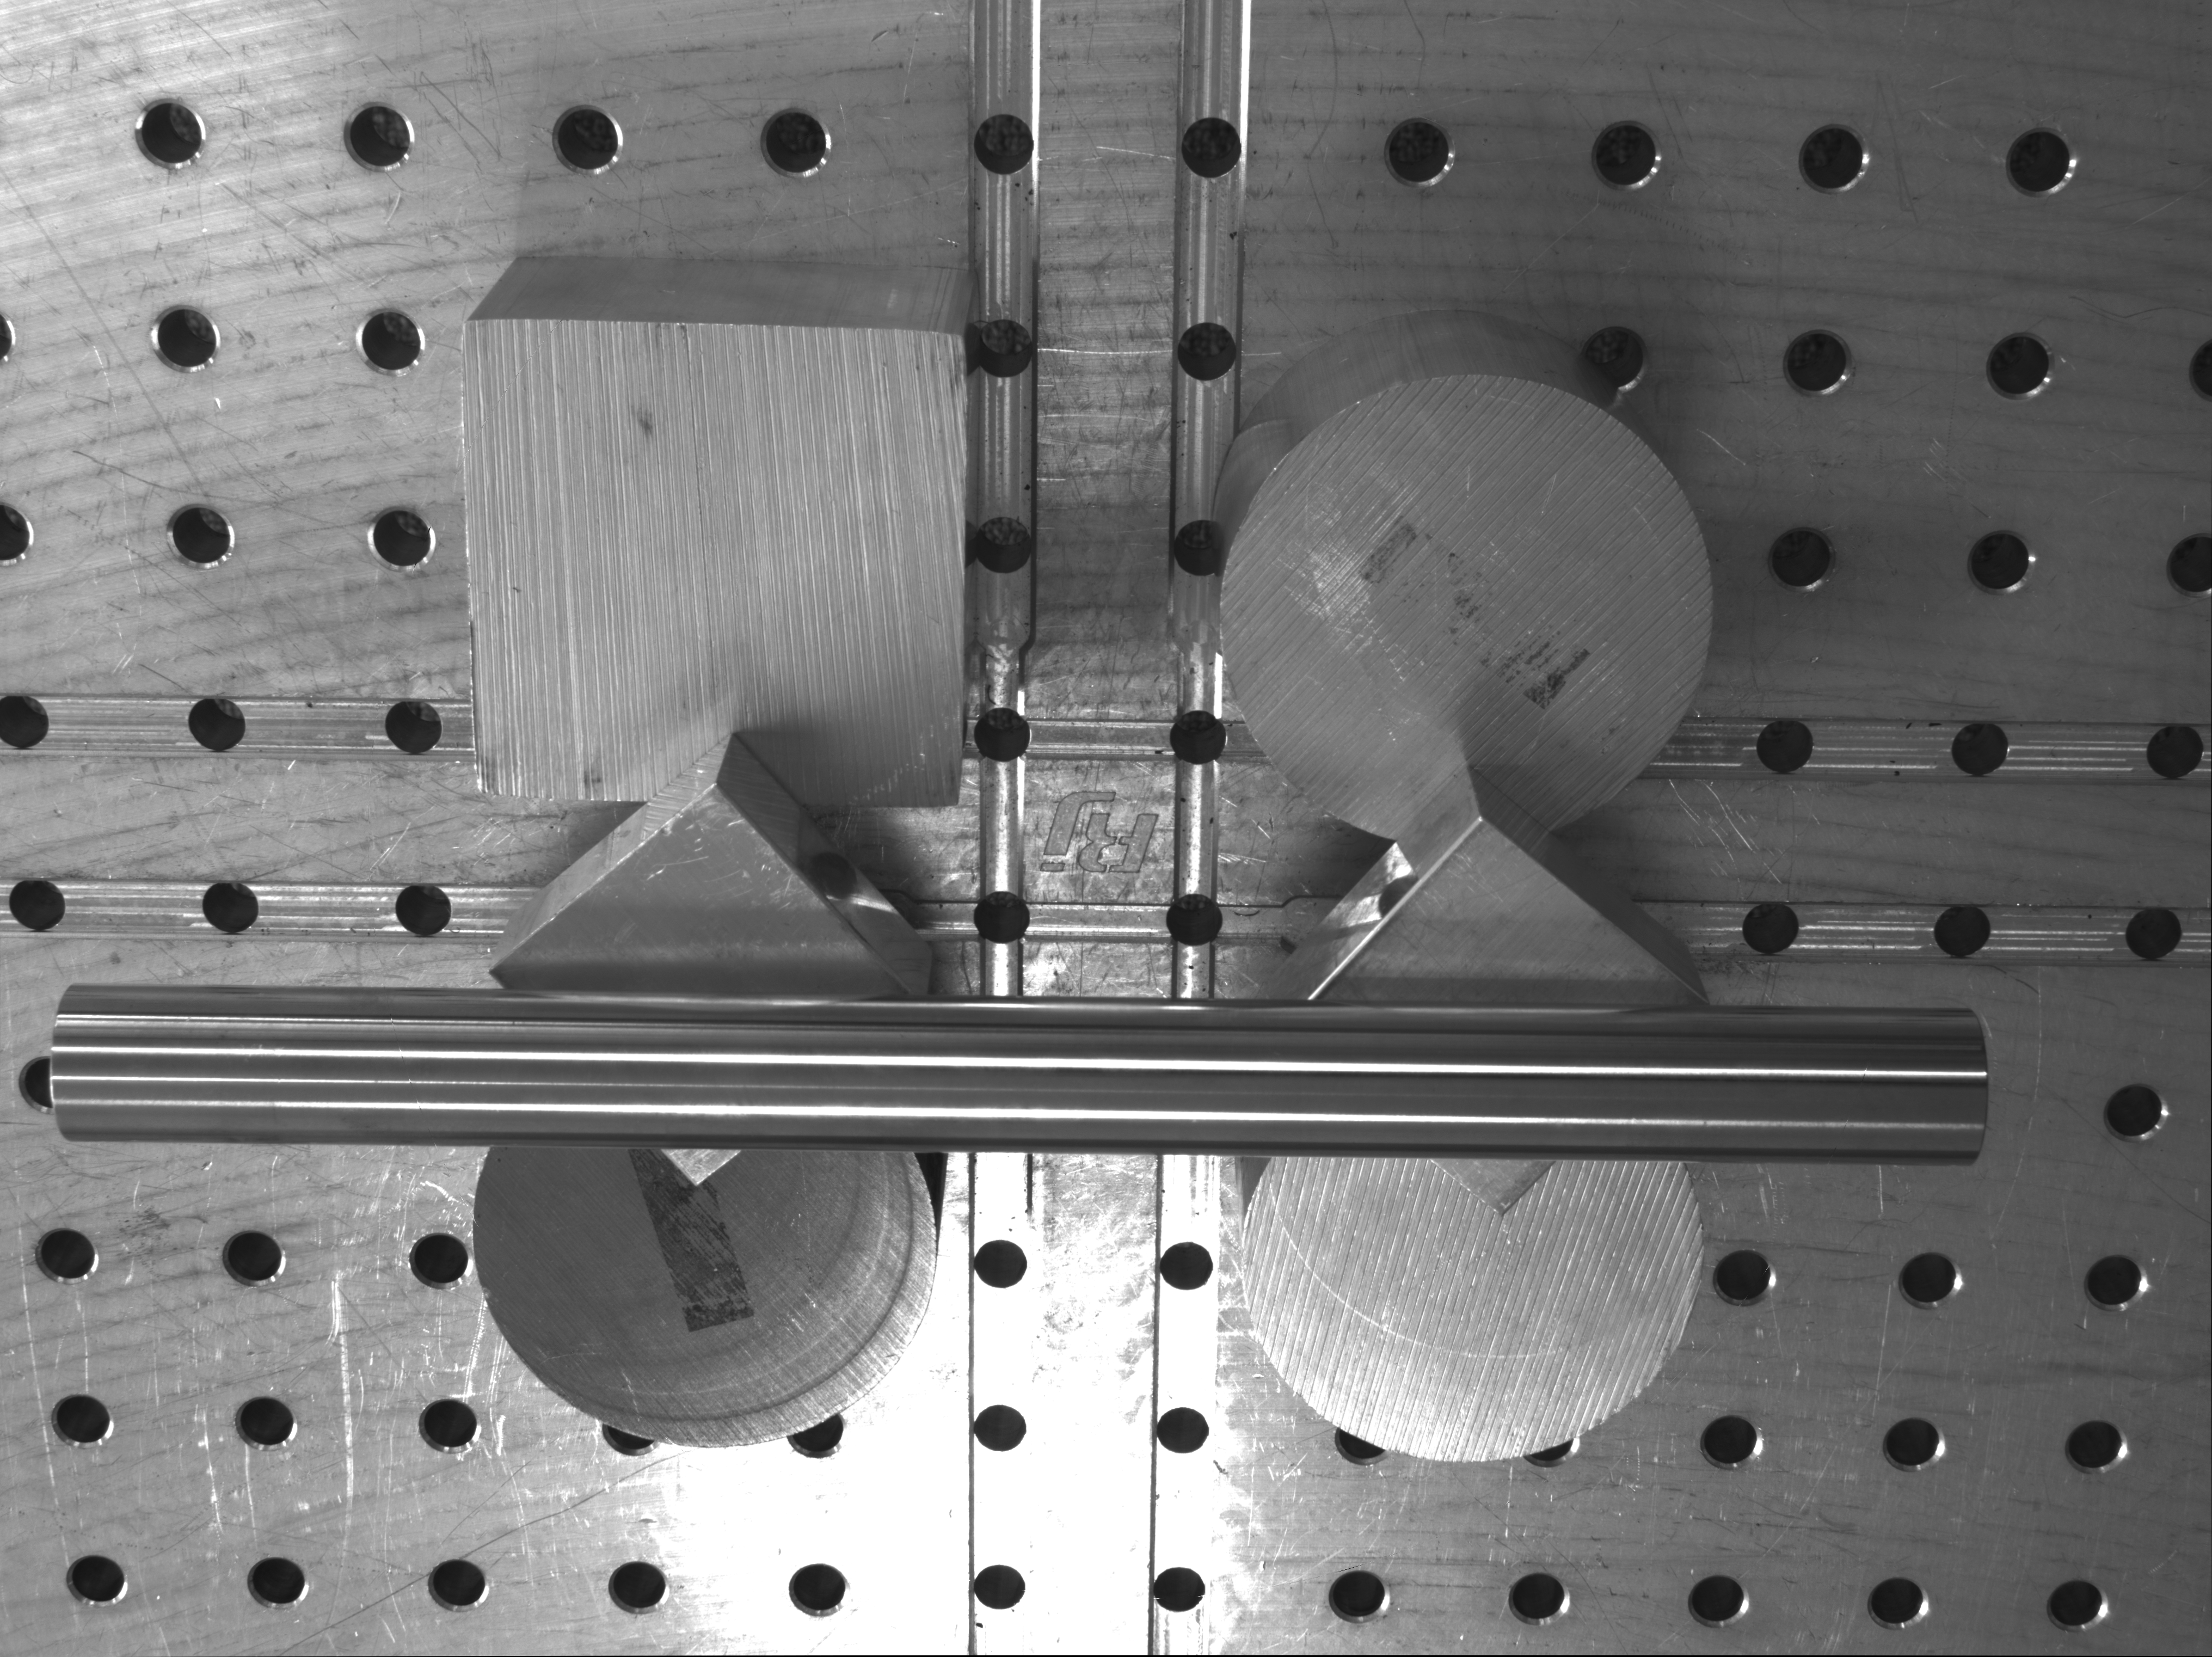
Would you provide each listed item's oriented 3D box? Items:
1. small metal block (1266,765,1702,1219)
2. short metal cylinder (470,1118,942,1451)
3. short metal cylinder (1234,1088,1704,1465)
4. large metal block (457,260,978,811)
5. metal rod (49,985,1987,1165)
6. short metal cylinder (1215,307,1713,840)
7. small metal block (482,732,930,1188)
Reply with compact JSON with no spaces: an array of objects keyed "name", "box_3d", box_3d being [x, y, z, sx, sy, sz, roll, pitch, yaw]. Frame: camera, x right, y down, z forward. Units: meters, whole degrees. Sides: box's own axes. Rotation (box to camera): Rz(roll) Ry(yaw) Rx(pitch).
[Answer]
[{"name":"small metal block","box_3d":[0.062,0.027,0.603,0.050,0.025,0.050,39,105,-13]},{"name":"short metal cylinder","box_3d":[-0.069,0.063,0.655,0.080,0.050,0.080,0,110,0]},{"name":"short metal cylinder","box_3d":[0.063,0.066,0.657,0.080,0.050,0.080,0,110,0]},{"name":"large metal block","box_3d":[-0.063,-0.050,0.614,0.080,0.050,0.080,1,110,0]},{"name":"metal rod","box_3d":[-0.013,0.039,0.580,0.300,0.025,0.025,1,110,0]},{"name":"short metal cylinder","box_3d":[0.058,-0.043,0.617,0.080,0.050,0.080,0,110,0]},{"name":"small metal block","box_3d":[-0.065,0.022,0.601,0.050,0.025,0.050,-38,106,13]}]
